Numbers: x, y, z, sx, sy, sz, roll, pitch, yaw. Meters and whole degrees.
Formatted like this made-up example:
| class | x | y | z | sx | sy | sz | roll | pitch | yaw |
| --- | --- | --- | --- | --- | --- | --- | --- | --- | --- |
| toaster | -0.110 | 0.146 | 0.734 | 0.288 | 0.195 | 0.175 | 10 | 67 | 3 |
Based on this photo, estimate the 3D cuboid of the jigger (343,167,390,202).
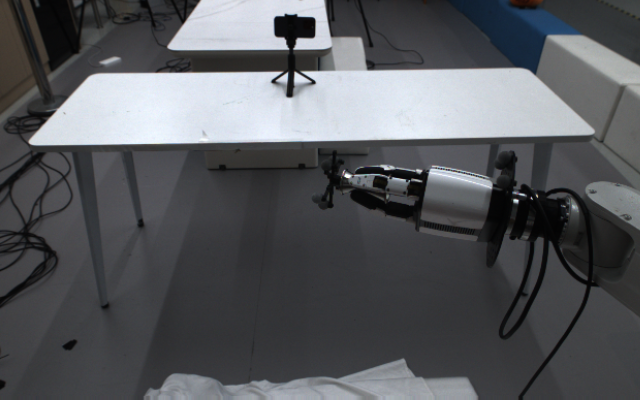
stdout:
| class | x | y | z | sx | sy | sz | roll | pitch | yaw |
| --- | --- | --- | --- | --- | --- | --- | --- | --- | --- |
| jigger | 0.072 | -0.025 | 0.697 | 0.071 | 0.043 | 0.043 | 10 | 35 | 16 |
